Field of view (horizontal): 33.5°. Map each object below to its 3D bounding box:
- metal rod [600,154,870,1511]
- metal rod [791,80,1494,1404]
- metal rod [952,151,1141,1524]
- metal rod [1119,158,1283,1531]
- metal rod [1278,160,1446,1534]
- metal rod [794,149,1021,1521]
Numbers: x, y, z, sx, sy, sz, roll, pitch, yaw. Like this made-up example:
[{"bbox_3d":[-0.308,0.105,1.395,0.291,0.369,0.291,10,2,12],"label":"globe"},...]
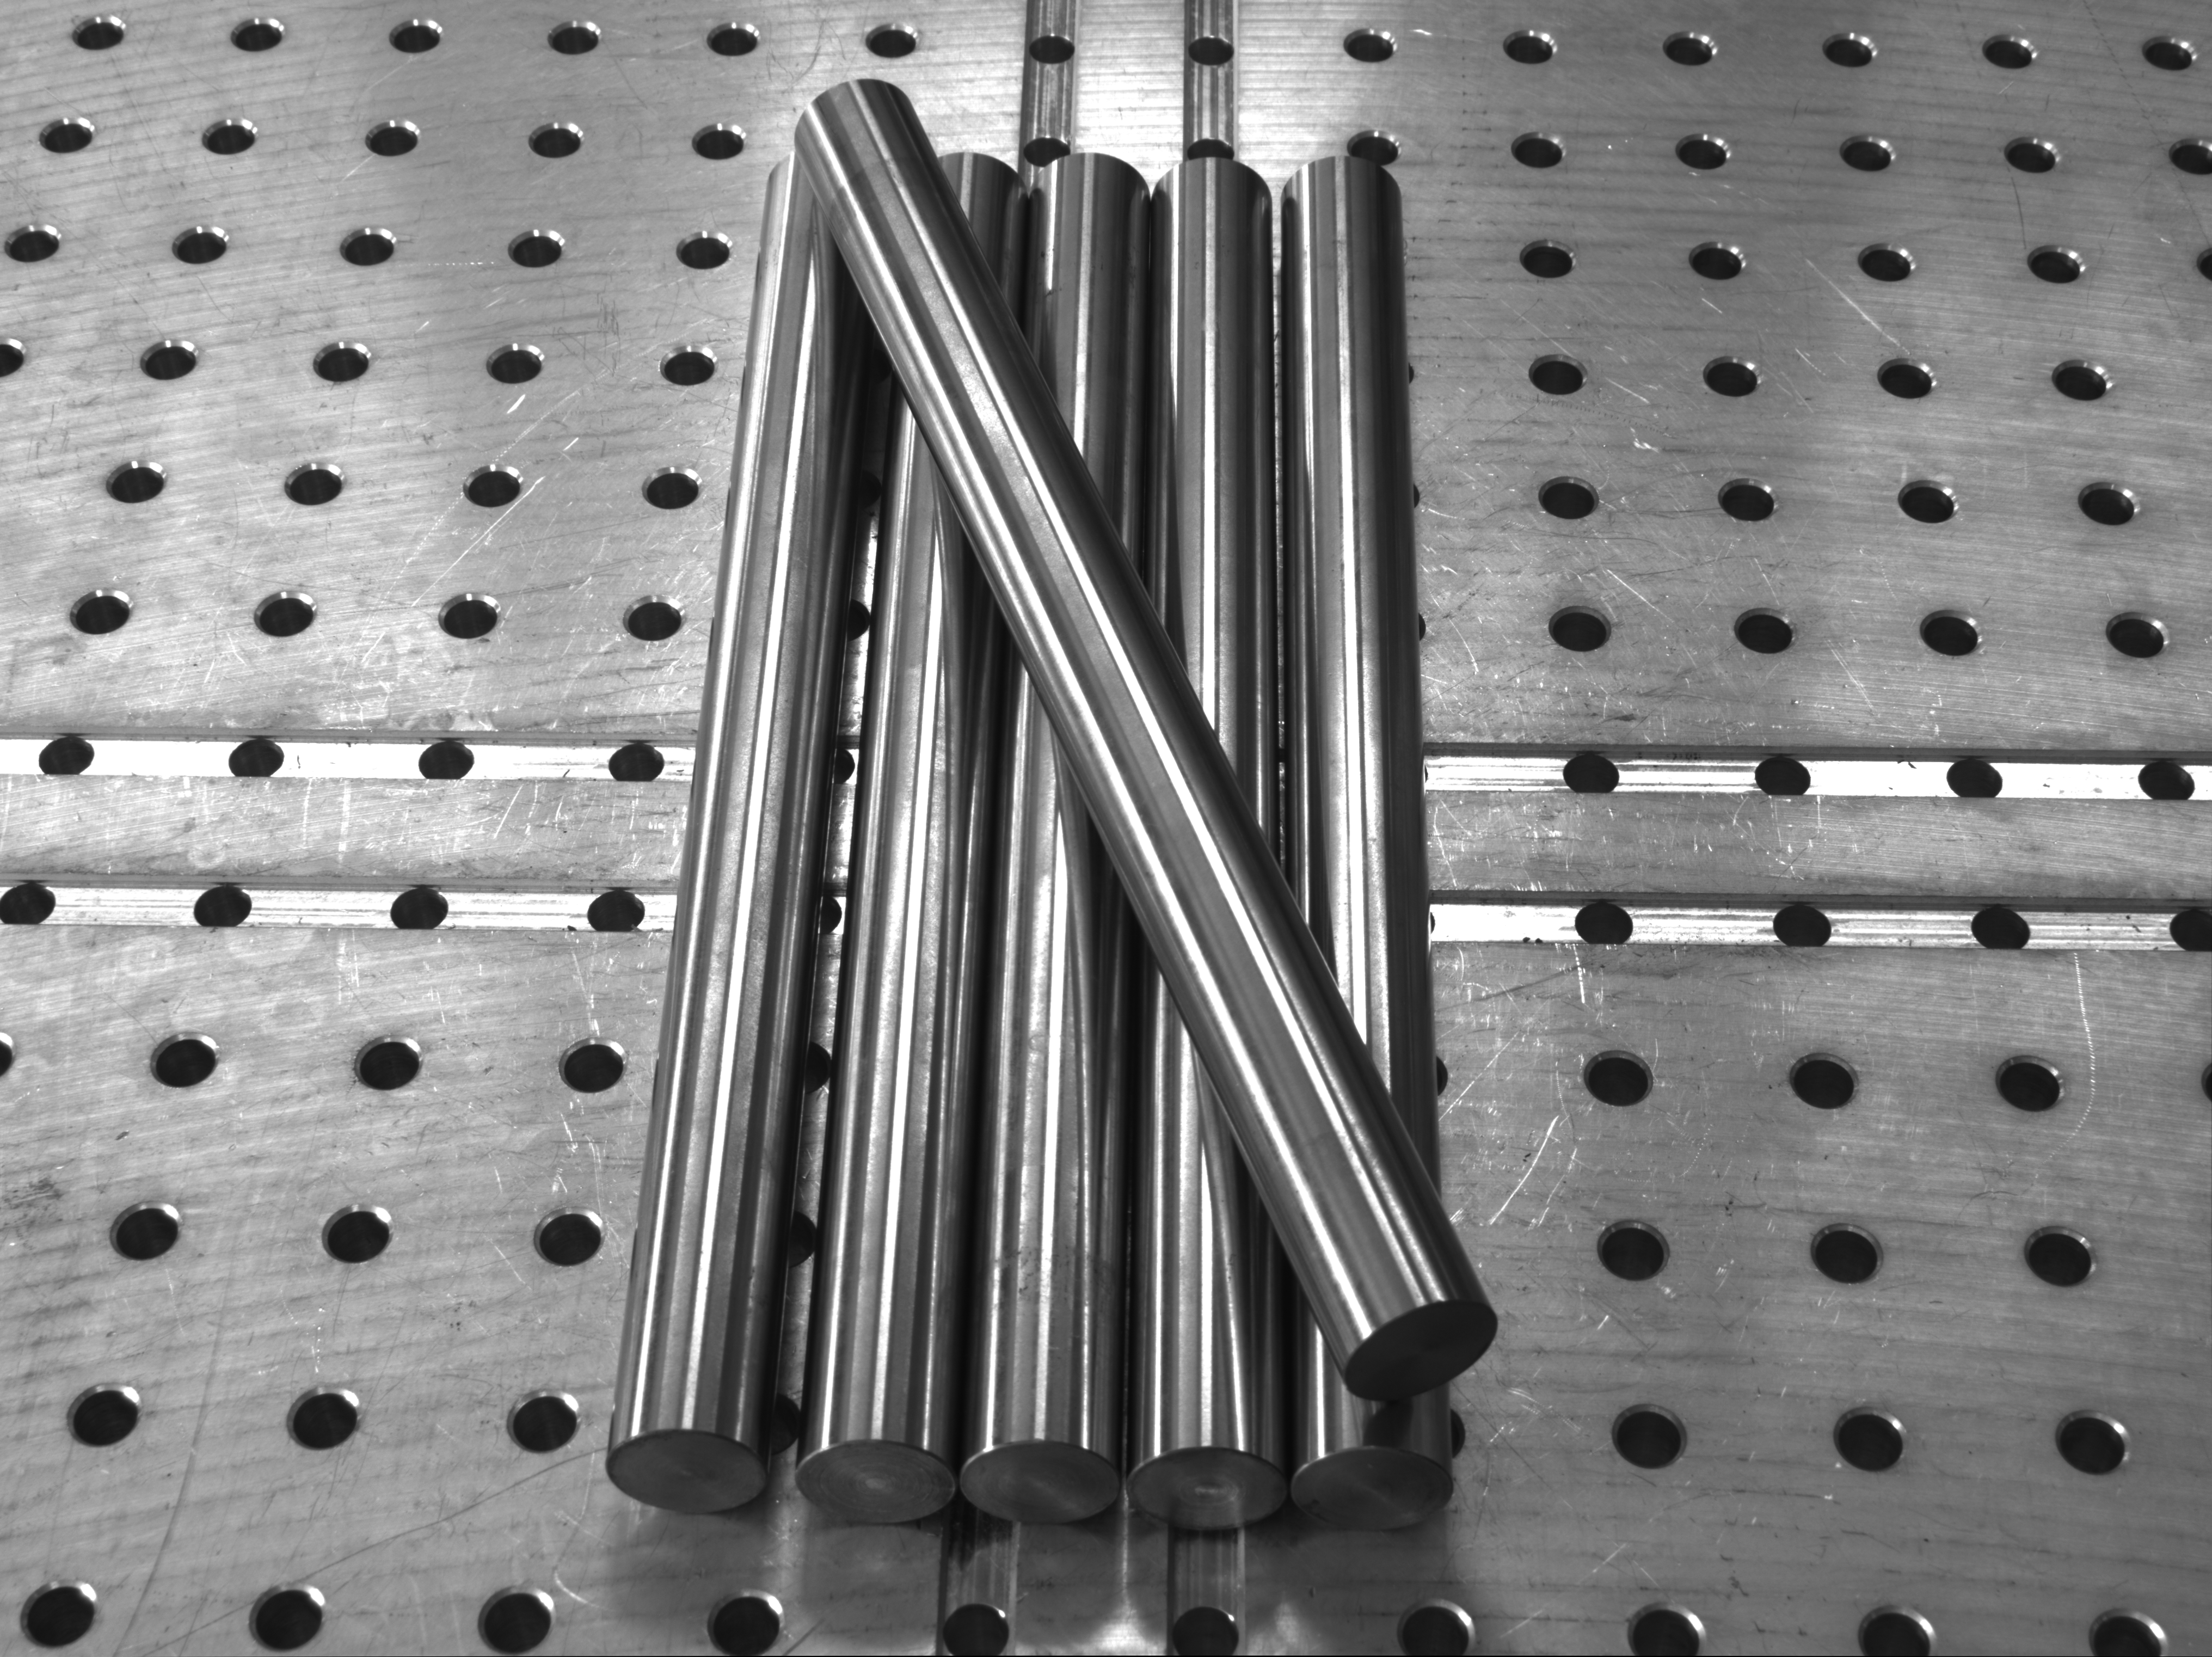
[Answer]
[{"bbox_3d":[-0.061,-0.016,0.658,0.025,0.025,0.300,1,50,1],"label":"metal rod"},{"bbox_3d":[-0.002,-0.030,0.638,0.025,0.025,0.299,-15,51,-12],"label":"metal rod"},{"bbox_3d":[-0.008,-0.015,0.657,0.025,0.025,0.300,1,50,1],"label":"metal rod"},{"bbox_3d":[0.018,-0.013,0.658,0.025,0.025,0.300,1,50,1],"label":"metal rod"},{"bbox_3d":[0.044,-0.013,0.657,0.025,0.025,0.300,1,50,1],"label":"metal rod"},{"bbox_3d":[-0.032,-0.015,0.657,0.025,0.025,0.300,1,50,1],"label":"metal rod"}]
